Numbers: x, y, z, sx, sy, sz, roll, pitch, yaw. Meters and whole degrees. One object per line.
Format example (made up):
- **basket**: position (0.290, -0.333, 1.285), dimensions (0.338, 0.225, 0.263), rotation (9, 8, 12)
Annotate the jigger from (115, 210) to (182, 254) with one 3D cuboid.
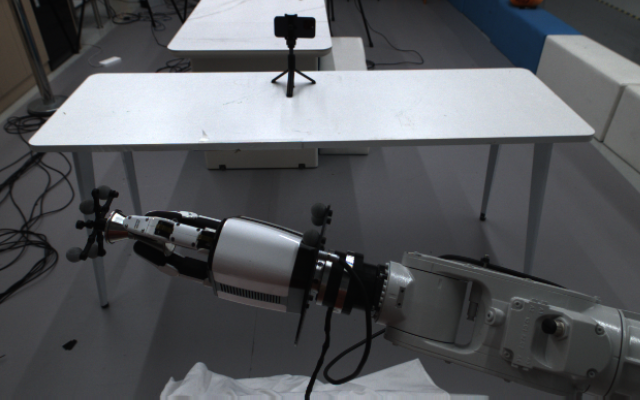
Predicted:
- **jigger**: position (-0.192, 0.034, 0.544), dimensions (0.071, 0.043, 0.043), rotation (10, 35, 1)
